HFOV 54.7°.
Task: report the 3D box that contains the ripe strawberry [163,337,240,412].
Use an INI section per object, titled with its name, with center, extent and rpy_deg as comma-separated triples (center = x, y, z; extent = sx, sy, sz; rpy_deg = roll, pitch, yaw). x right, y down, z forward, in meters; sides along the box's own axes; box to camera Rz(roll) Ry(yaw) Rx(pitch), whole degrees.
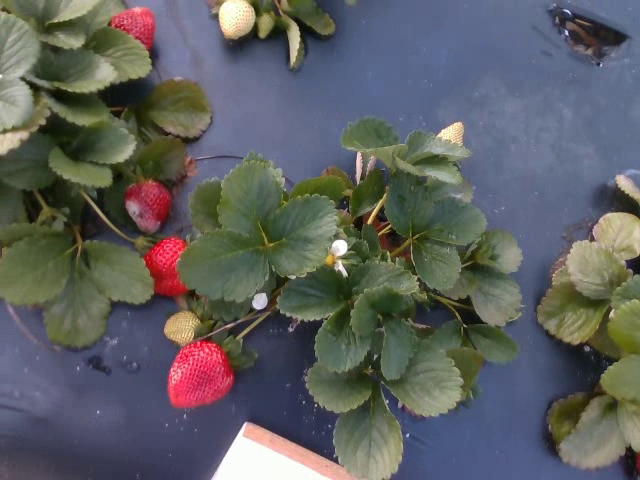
[ripe strawberry]
center = -0.043, 0.050, 0.209
extent = 0.022, 0.025, 0.030
rpy_deg = 21, 30, 24
